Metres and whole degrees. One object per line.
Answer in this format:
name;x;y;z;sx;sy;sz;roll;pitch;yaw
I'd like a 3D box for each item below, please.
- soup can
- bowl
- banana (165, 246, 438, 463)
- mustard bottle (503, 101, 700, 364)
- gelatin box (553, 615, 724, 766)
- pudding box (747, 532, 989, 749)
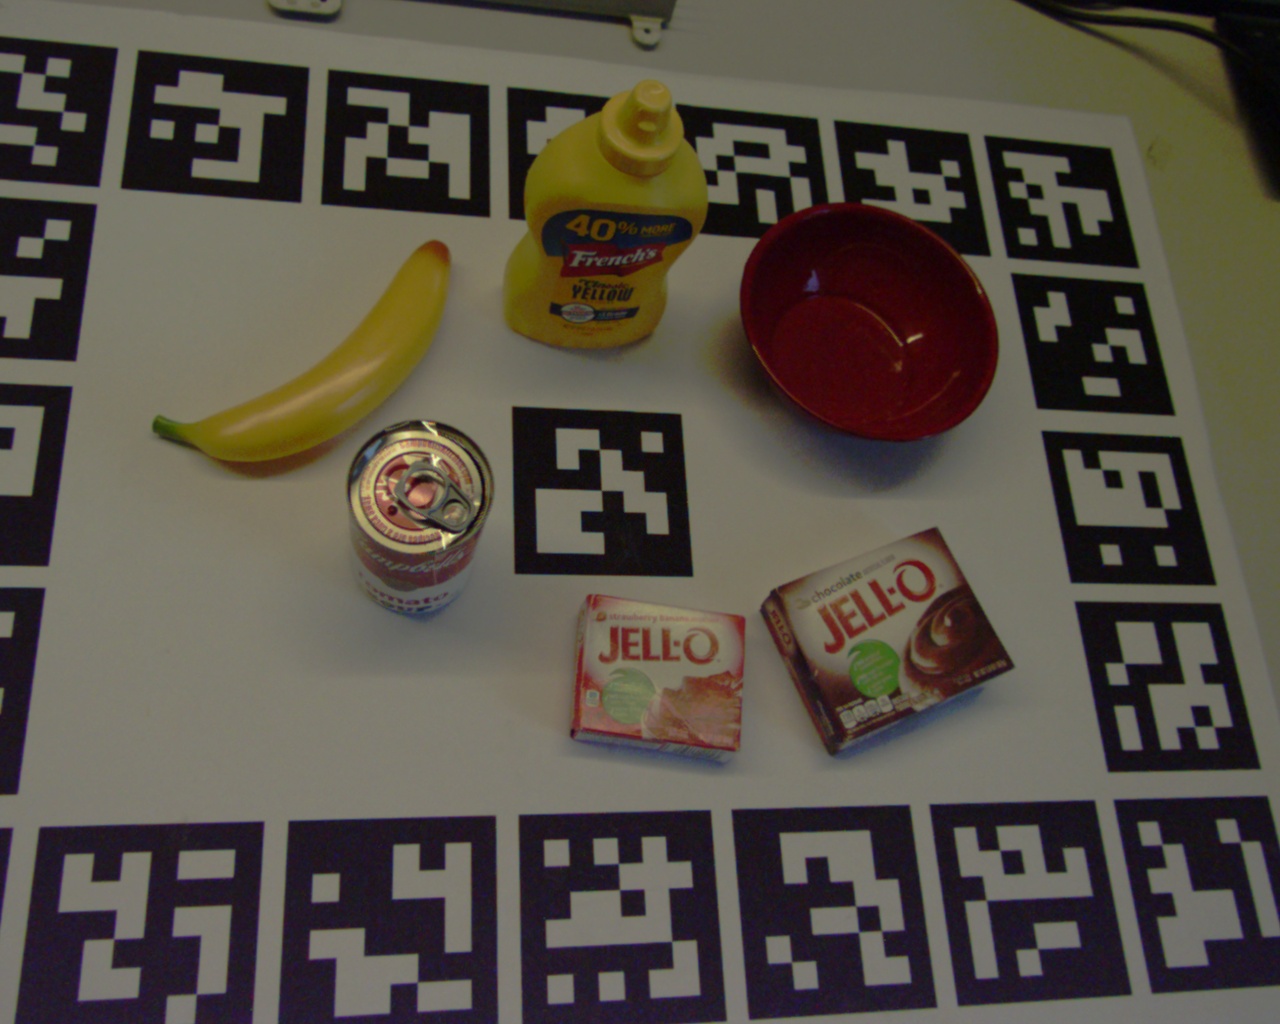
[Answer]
soup can;-0.124;0.004;0.598;0.067;0.102;0.068;5;66;-13
bowl;0.130;-0.103;0.733;0.161;0.055;0.162;3;67;-9
banana;-0.179;-0.088;0.667;0.075;0.039;0.196;36;65;14
mustard bottle;-0.019;-0.153;0.631;0.095;0.192;0.058;2;66;-13
gelatin box;0.000;0.099;0.635;0.089;0.030;0.073;8;70;-8
pudding box;0.132;0.075;0.668;0.113;0.039;0.090;-22;80;-19
